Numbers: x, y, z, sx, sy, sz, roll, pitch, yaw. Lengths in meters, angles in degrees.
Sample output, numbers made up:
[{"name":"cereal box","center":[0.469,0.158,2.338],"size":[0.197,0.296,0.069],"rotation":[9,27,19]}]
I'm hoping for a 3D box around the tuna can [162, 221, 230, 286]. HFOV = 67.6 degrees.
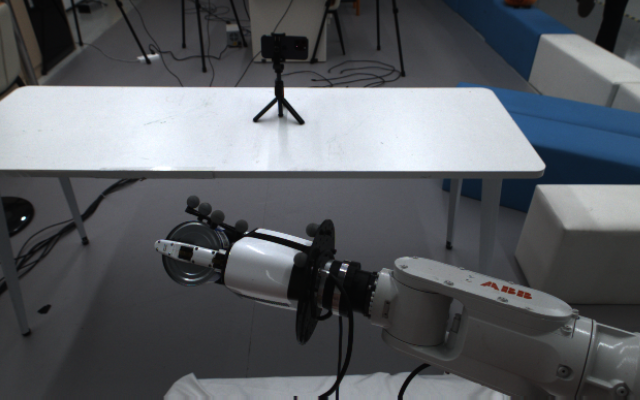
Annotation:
[{"name":"tuna can","center":[-0.161,0.071,0.640],"size":[0.085,0.085,0.034],"rotation":[13,-6,16]}]
